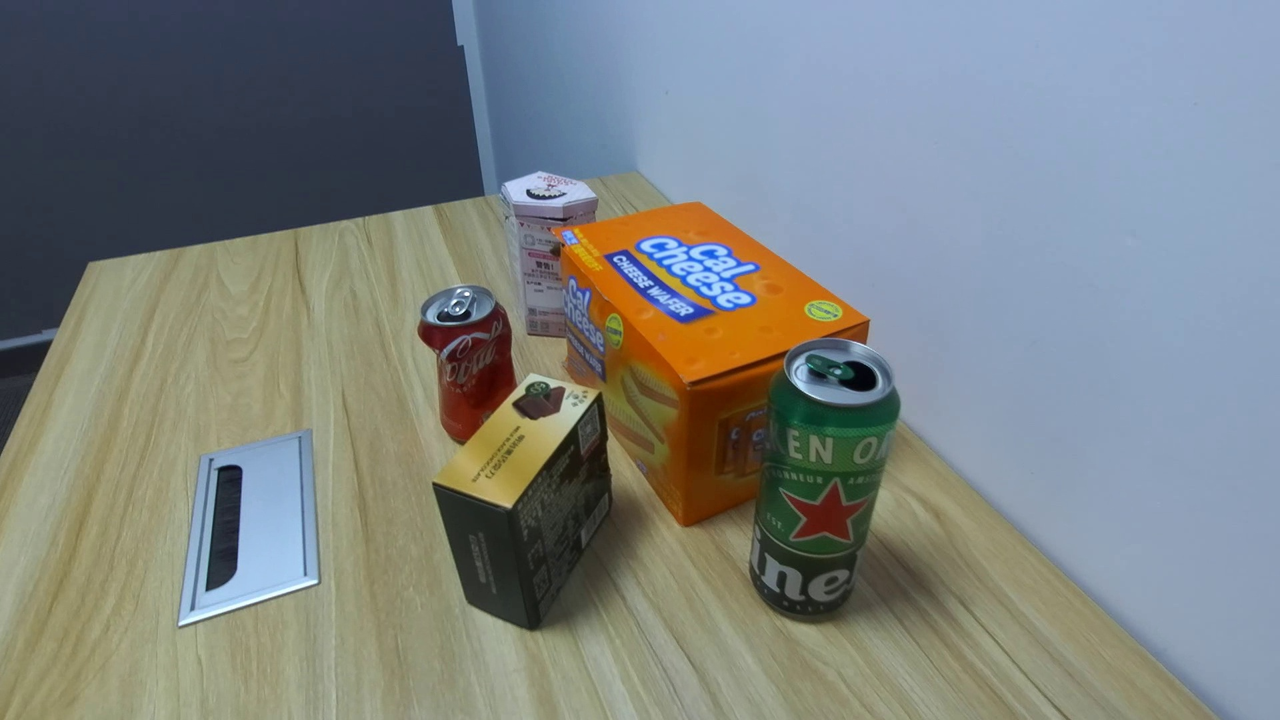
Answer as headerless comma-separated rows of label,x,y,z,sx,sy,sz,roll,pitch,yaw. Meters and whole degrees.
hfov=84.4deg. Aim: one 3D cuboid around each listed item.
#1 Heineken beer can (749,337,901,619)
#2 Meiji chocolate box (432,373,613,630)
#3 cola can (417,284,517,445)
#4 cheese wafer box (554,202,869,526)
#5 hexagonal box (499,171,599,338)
Heineken beer can,0.100,0.072,0.400,0.067,0.169,0.067,-1,36,1
Meiji chocolate box,-0.066,0.086,0.442,0.056,0.109,0.110,14,39,21
cola can,-0.131,0.003,0.546,0.066,0.117,0.066,-23,41,-28
cheese wafer box,0.042,-0.015,0.549,0.150,0.137,0.226,-18,40,-20
hexagonal box,-0.078,-0.097,0.660,0.092,0.135,0.085,7,37,14
